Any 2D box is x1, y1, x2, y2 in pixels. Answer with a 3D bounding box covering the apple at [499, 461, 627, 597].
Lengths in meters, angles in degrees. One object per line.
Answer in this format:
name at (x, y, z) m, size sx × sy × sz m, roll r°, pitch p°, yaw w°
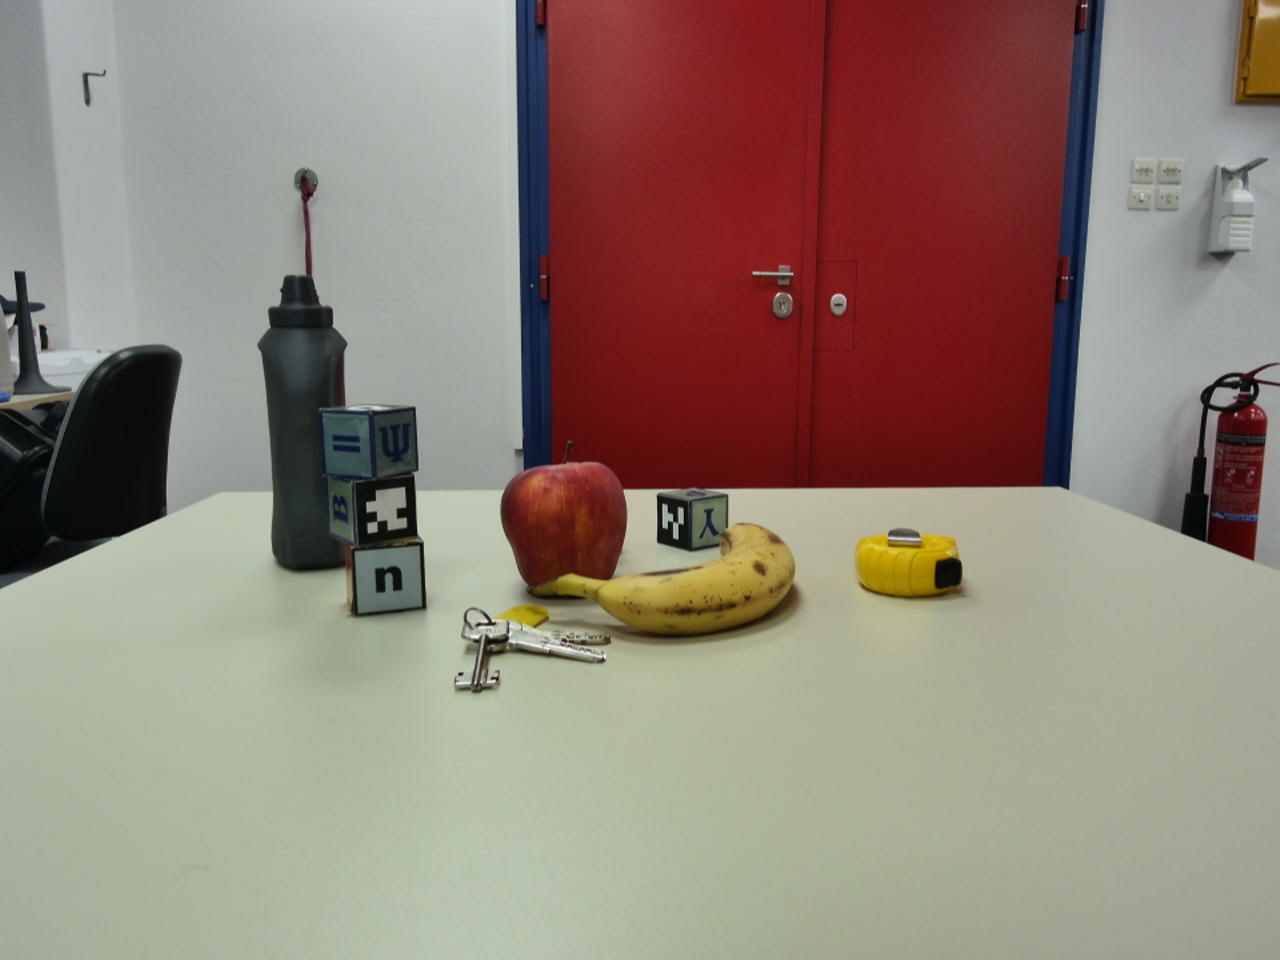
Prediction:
apple at (-0.047, 0.023, 0.599) m, size 0.083 × 0.090 × 0.083 m, roll 2°, pitch 7°, yaw 0°
